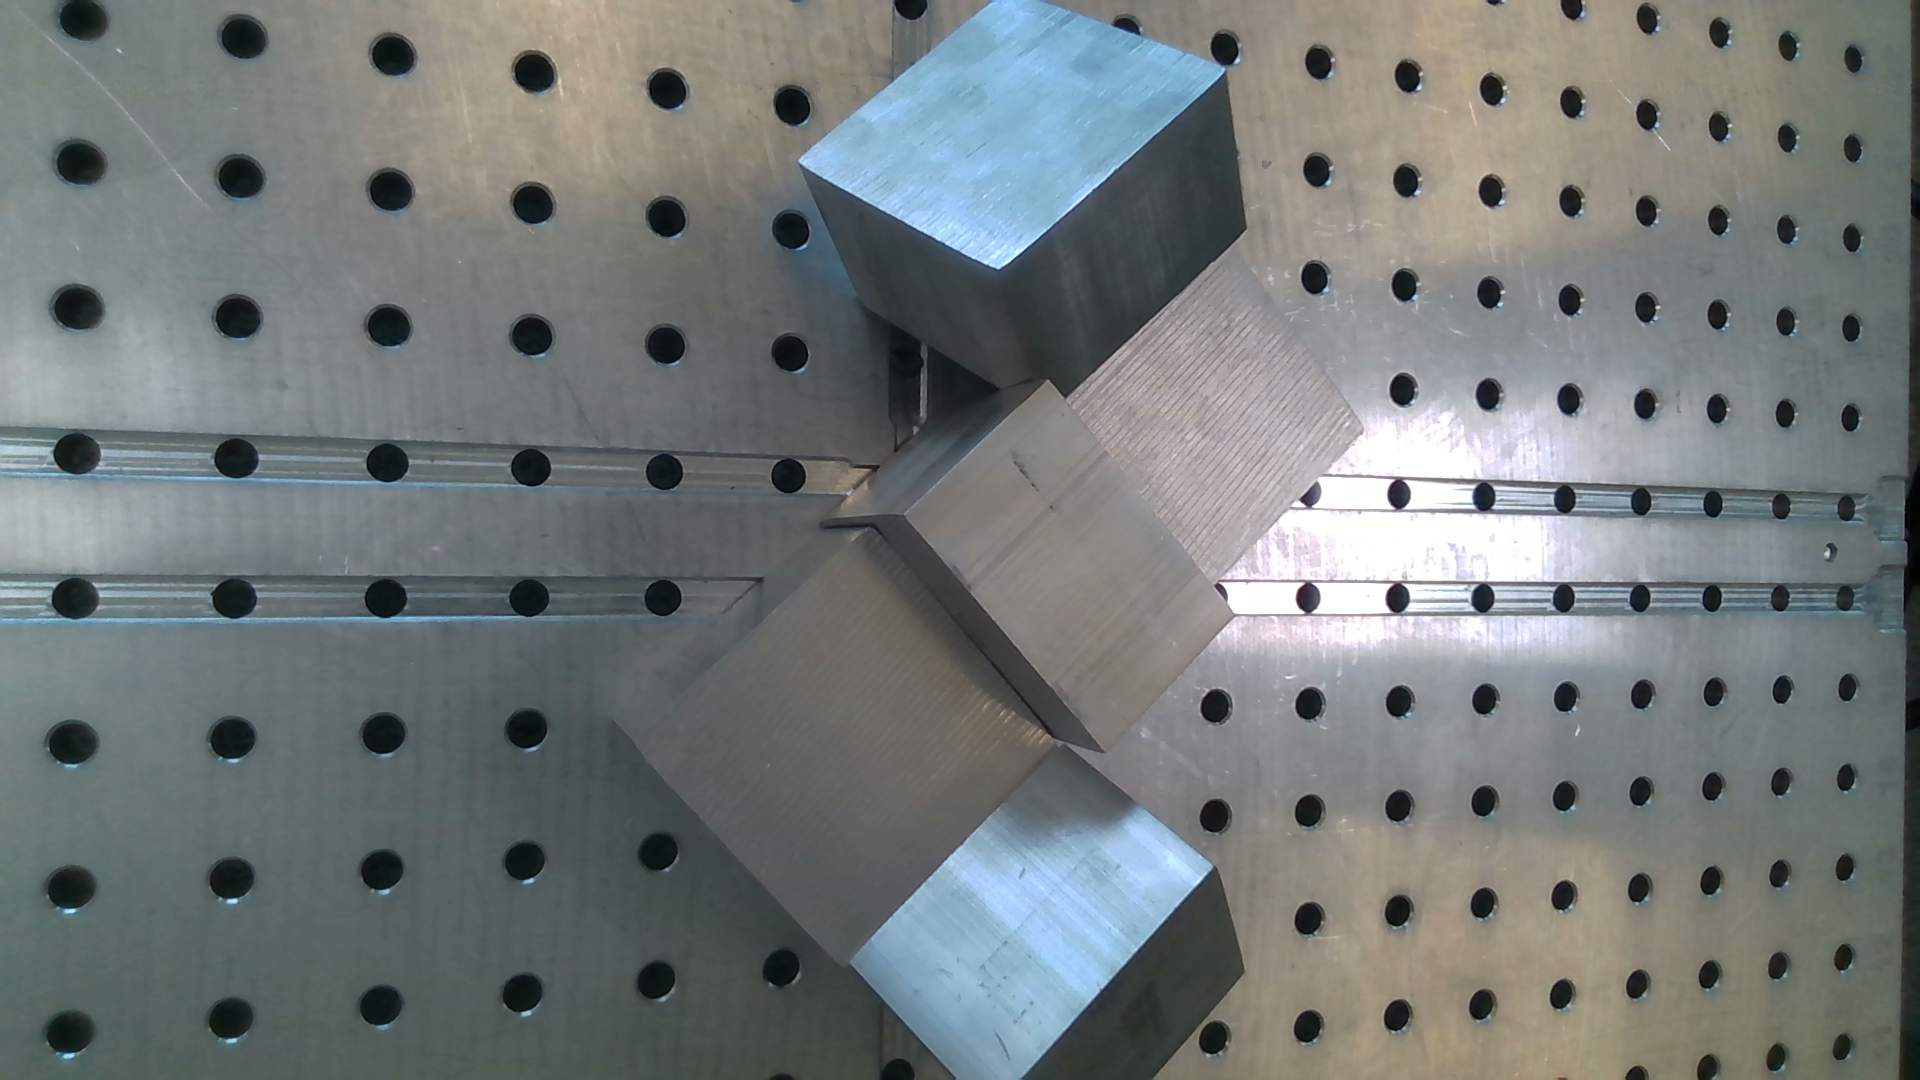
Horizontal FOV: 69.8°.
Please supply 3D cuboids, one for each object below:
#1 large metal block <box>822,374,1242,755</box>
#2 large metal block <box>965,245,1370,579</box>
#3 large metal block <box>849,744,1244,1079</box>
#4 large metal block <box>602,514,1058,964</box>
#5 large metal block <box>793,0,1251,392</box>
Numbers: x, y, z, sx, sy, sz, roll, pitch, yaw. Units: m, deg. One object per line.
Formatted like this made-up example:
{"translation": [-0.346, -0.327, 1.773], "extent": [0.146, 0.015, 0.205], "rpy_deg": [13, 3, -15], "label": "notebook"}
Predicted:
{"translation": [0.016, 0.006, 0.372], "extent": [0.050, 0.080, 0.080], "rpy_deg": [-44, 104, -14], "label": "large metal block"}
{"translation": [0.057, -0.036, 0.404], "extent": [0.080, 0.050, 0.080], "rpy_deg": [-43, 102, -14], "label": "large metal block"}
{"translation": [0.027, 0.114, 0.371], "extent": [0.080, 0.050, 0.080], "rpy_deg": [-43, 144, -15], "label": "large metal block"}
{"translation": [-0.036, 0.050, 0.370], "extent": [0.080, 0.050, 0.080], "rpy_deg": [-43, 104, -16], "label": "large metal block"}
{"translation": [0.017, -0.093, 0.366], "extent": [0.080, 0.080, 0.050], "rpy_deg": [-43, 142, -15], "label": "large metal block"}
